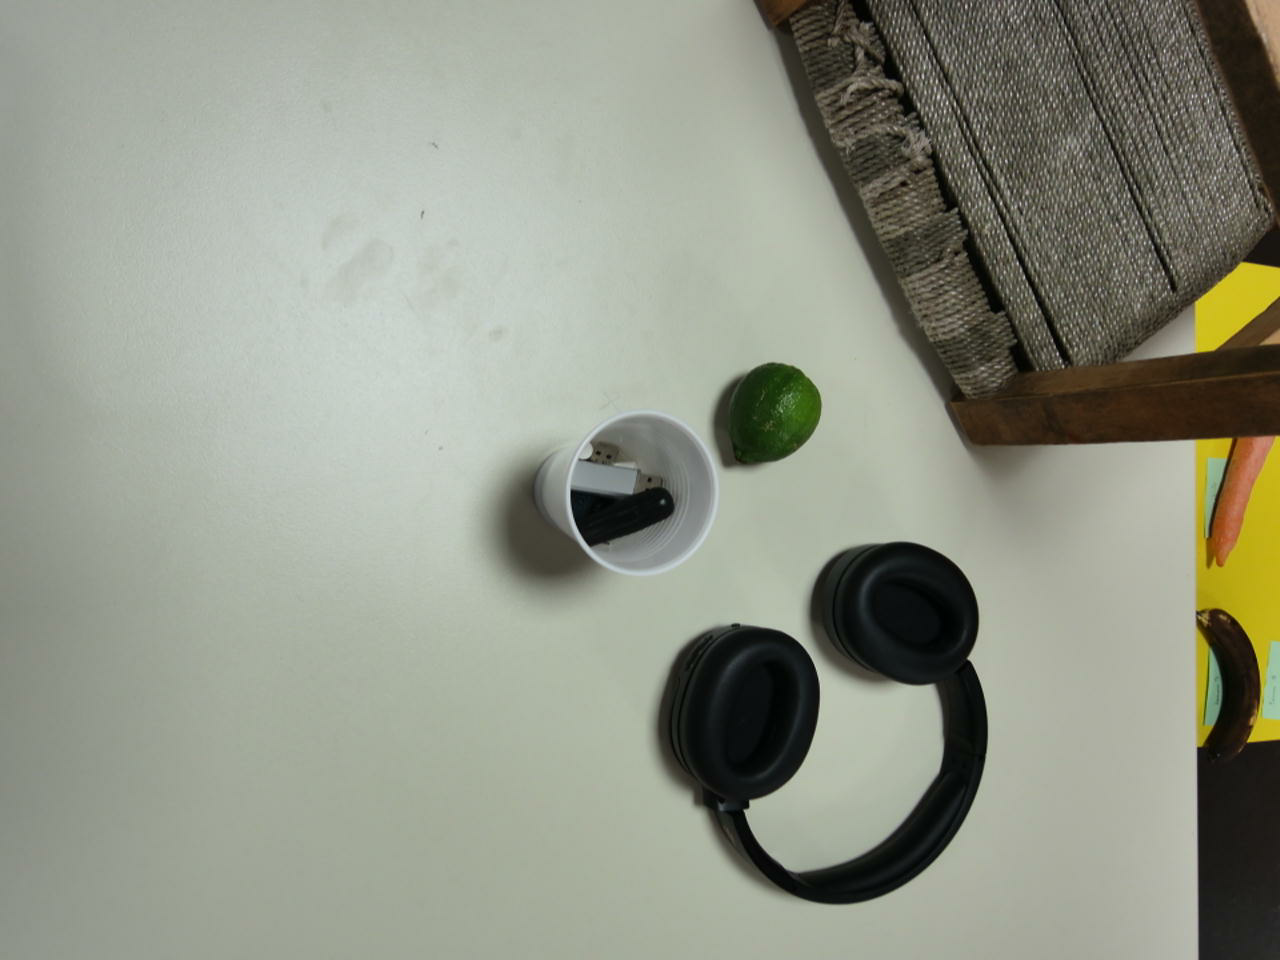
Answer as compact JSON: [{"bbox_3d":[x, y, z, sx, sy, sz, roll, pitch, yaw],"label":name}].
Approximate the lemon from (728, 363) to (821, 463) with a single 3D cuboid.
[{"bbox_3d":[0.078,-0.039,0.579,0.054,0.051,0.057,-5,93,-22],"label":"lemon"}]
